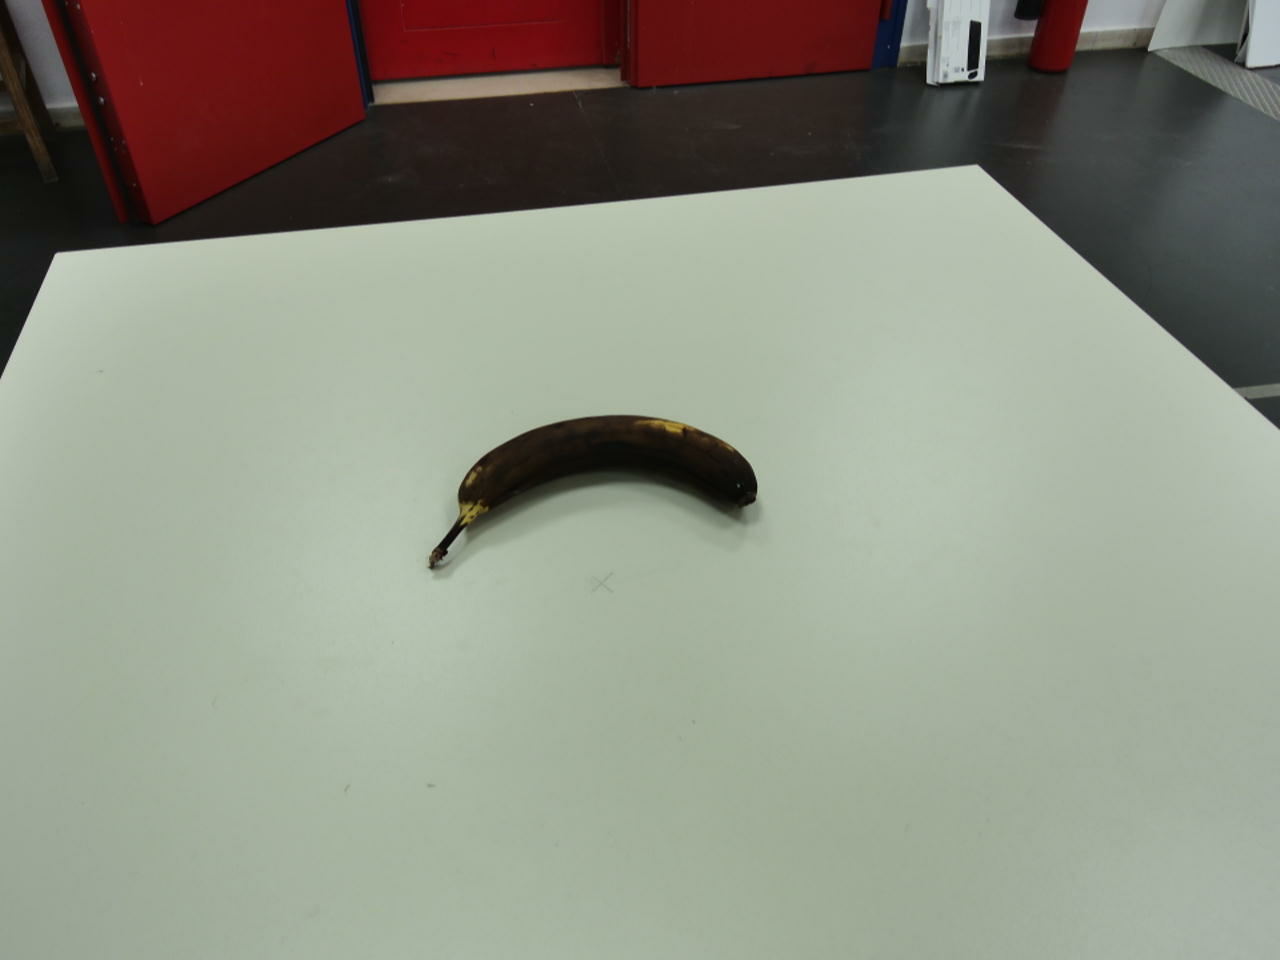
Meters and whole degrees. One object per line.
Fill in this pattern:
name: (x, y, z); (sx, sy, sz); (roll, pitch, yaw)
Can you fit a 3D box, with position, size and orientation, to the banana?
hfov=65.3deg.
banana: (-0.030, -0.005, 0.580); (0.188, 0.034, 0.091); (-7, 40, -9)
